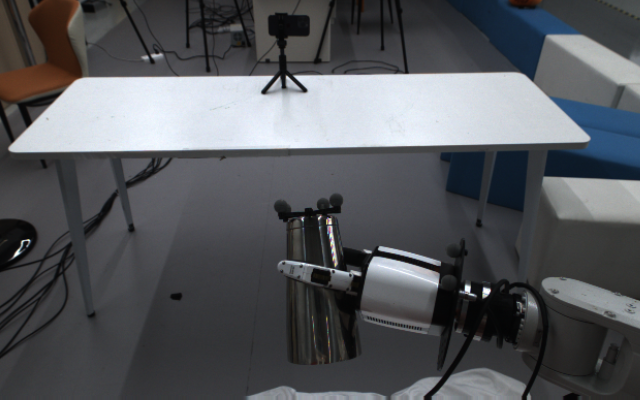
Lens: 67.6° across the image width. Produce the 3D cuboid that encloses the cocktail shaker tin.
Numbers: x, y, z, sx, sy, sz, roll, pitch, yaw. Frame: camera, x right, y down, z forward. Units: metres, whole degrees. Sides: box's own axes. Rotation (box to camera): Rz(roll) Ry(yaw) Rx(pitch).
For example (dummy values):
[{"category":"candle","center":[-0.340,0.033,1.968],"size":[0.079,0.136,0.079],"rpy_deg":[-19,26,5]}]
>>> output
[{"category":"cocktail shaker tin","center":[-0.002,0.109,0.607],"size":[0.093,0.170,0.093],"rpy_deg":[-6,-7,-1]}]
